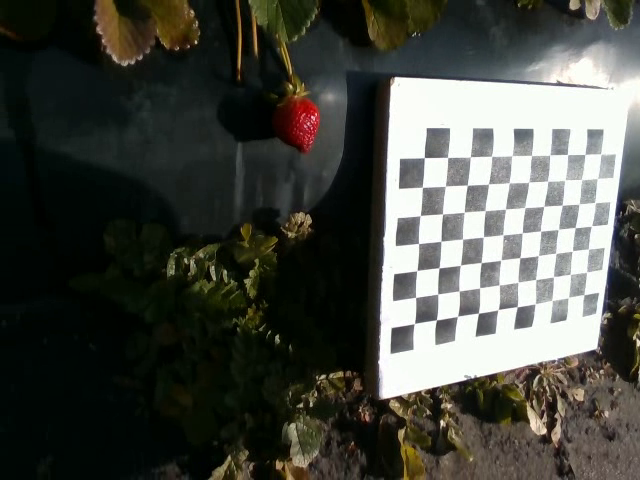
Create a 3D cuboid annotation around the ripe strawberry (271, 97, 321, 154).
[{"bbox_3d":[-0.015,-0.078,0.401,0.040,0.044,0.036,-25,9,-20],"label":"ripe strawberry"}]
